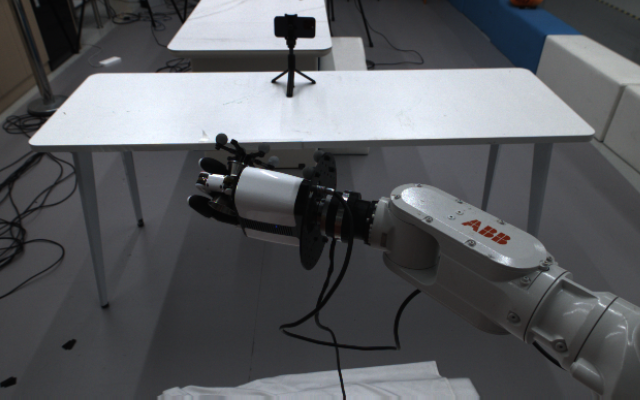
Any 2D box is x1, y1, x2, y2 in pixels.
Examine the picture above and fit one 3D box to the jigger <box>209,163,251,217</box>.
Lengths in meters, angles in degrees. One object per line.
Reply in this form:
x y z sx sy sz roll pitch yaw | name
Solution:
-0.121 -0.016 0.681 0.043 0.043 0.071 13 70 16 | jigger
